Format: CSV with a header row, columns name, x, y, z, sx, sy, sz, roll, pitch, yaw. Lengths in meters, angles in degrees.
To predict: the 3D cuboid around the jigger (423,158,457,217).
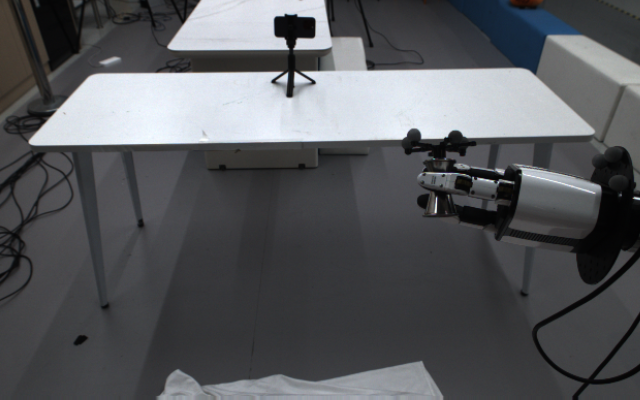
name,x,y,z,sx,sy,sz,roll,pitch,yaw
jigger,0.145,-0.015,0.592,0.043,0.071,0.043,1,-5,0
